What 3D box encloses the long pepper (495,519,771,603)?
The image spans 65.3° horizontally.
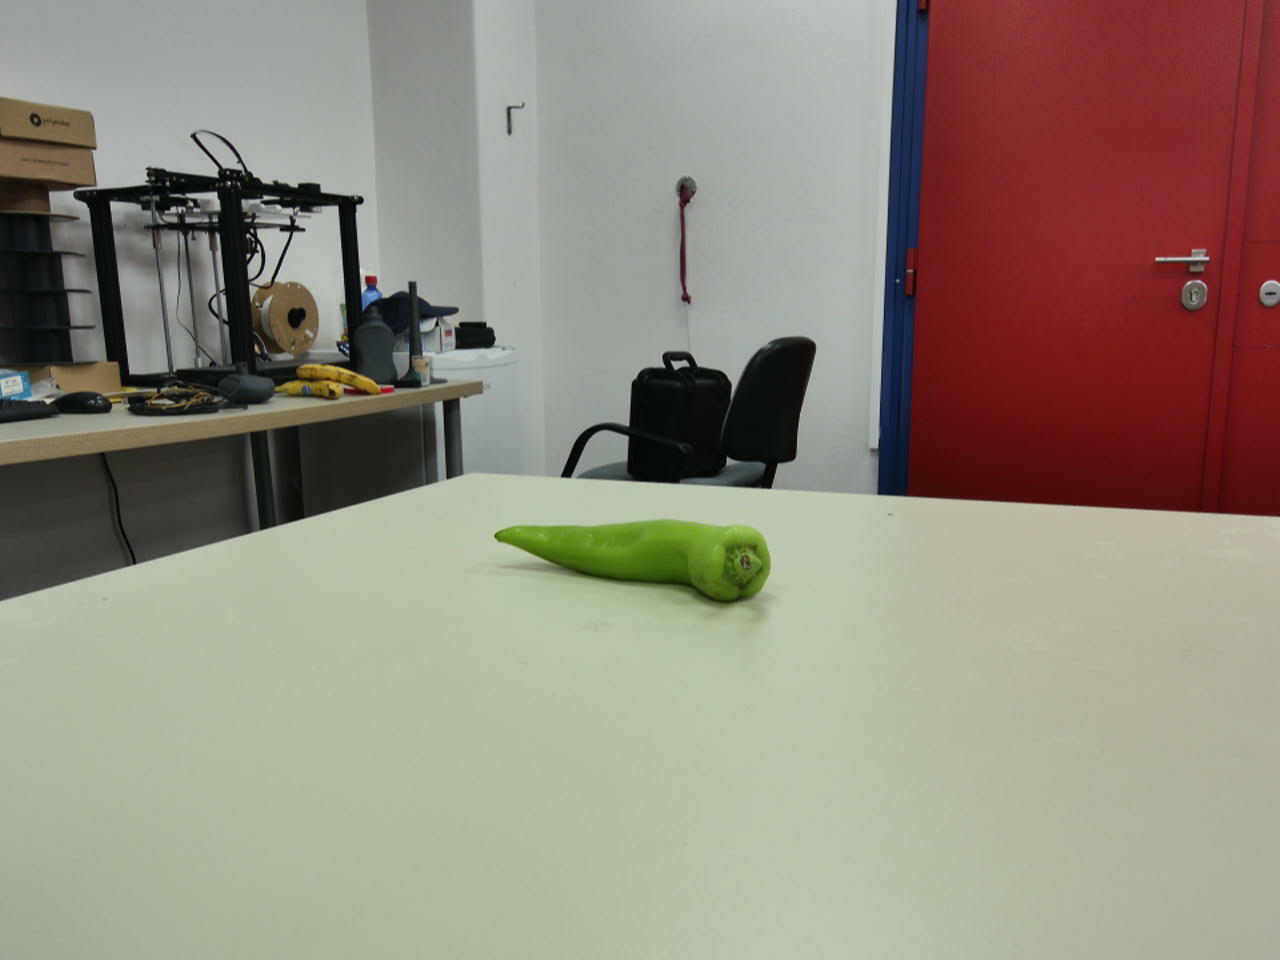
[{"bbox_3d":[0.001,0.043,0.631,0.205,0.045,0.065,6,9,39],"label":"long pepper"}]
